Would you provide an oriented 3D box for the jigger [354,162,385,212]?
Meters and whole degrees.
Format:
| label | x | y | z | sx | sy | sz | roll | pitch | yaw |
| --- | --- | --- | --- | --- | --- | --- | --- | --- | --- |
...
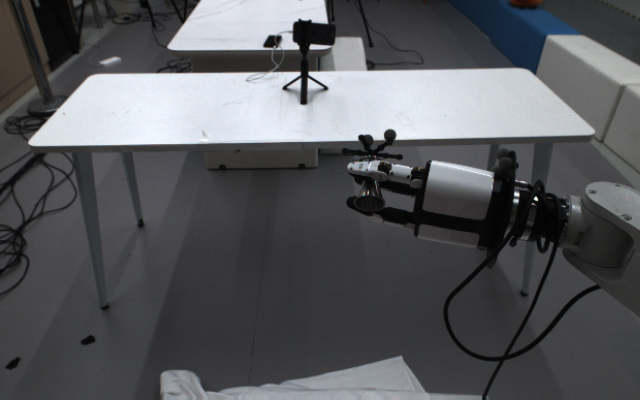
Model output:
| label | x | y | z | sx | sy | sz | roll | pitch | yaw |
| --- | --- | --- | --- | --- | --- | --- | --- | --- | --- |
| jigger | 0.070 | -0.024 | 0.687 | 0.043 | 0.043 | 0.071 | 5 | 61 | 3 |
